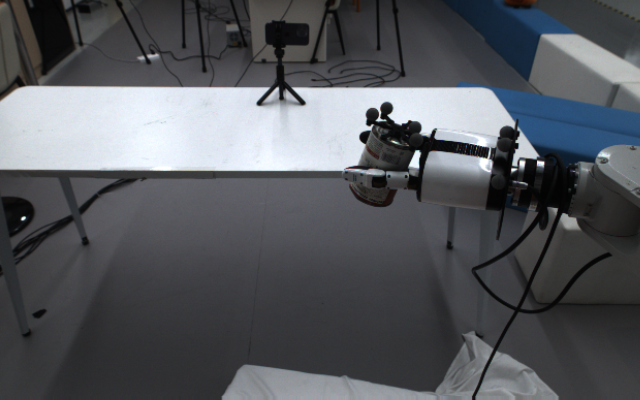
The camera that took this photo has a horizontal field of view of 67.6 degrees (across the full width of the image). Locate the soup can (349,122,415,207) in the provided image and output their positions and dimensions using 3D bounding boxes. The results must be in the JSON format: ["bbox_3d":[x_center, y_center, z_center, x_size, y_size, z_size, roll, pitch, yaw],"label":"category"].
[{"bbox_3d":[0.089,-0.050,0.679,0.067,0.101,0.067,13,35,-9],"label":"soup can"}]
